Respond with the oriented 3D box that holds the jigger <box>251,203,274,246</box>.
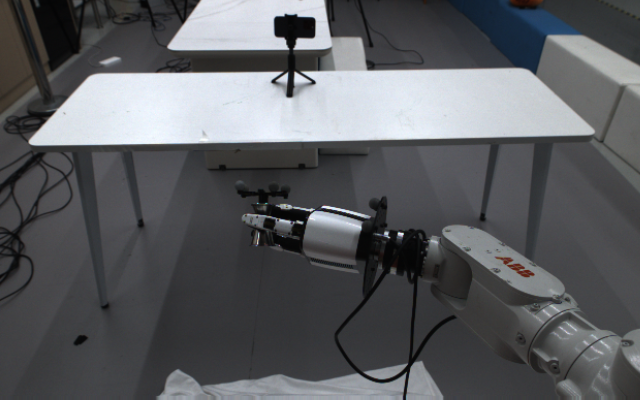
[{"bbox_3d":[-0.093,0.040,0.778,0.043,0.071,0.043,1,-5,0],"label":"jigger"}]
